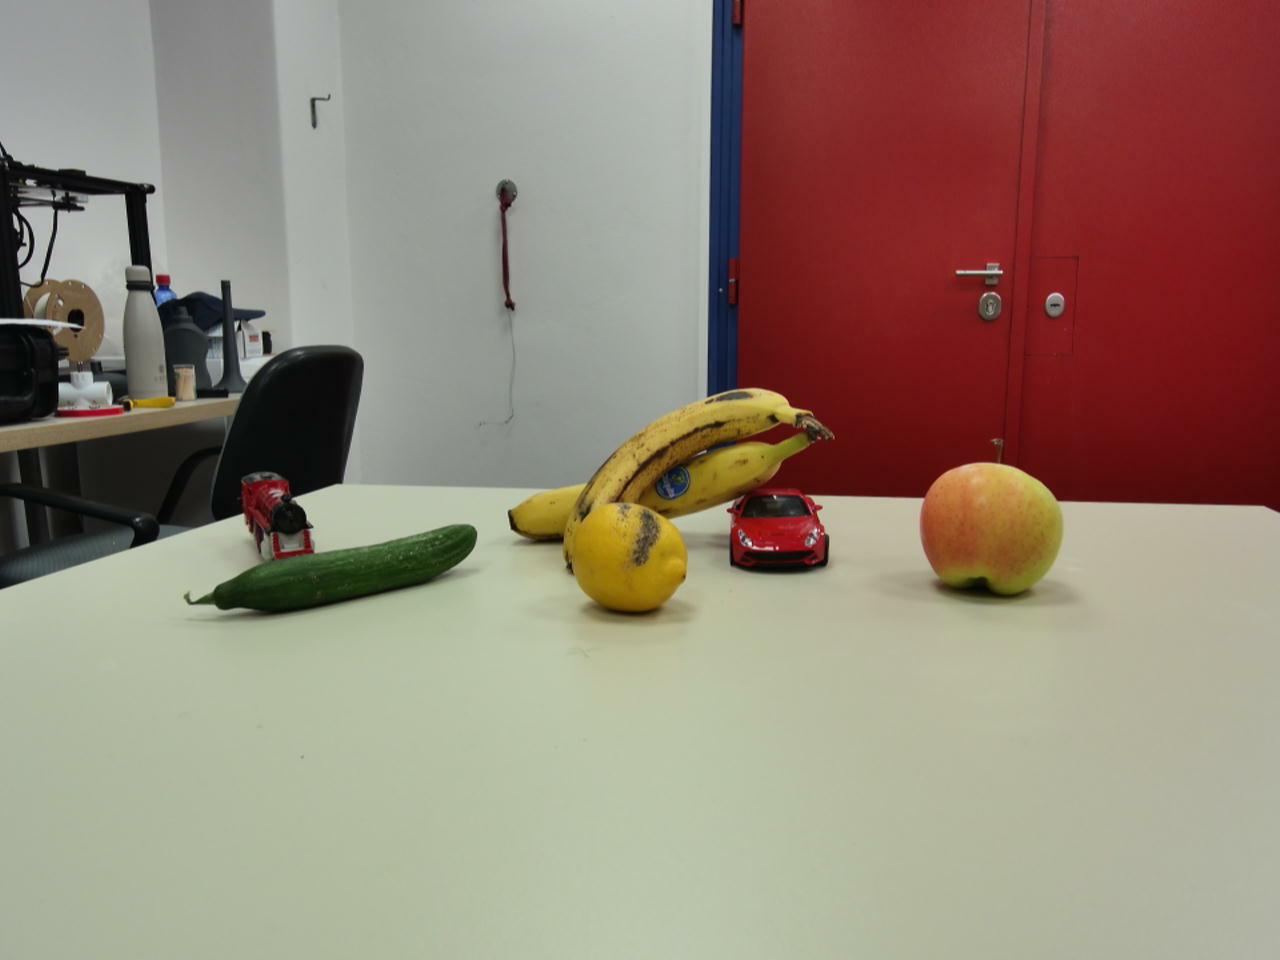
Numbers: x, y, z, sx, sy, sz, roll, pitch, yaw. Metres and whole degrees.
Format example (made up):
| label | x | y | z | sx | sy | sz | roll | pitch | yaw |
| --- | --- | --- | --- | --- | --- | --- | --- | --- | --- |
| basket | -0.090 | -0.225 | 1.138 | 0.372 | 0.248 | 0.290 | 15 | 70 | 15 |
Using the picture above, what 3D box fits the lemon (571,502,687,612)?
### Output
| label | x | y | z | sx | sy | sz | roll | pitch | yaw |
| --- | --- | --- | --- | --- | --- | --- | --- | --- | --- |
| lemon | -0.005 | 0.040 | 0.526 | 0.061 | 0.056 | 0.058 | 2 | 6 | 4 |
